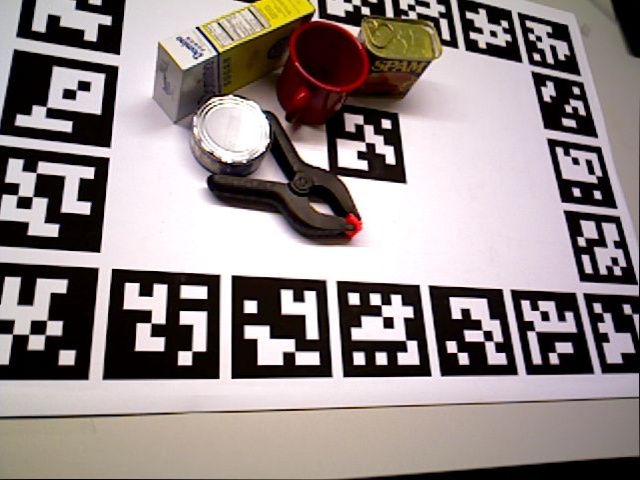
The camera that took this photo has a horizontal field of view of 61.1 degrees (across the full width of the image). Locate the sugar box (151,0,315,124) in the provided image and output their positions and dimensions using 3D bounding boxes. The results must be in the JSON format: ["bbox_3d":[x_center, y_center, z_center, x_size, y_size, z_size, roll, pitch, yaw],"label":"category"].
[{"bbox_3d":[-0.092,-0.196,0.577,0.173,0.095,0.045,-36,84,-29],"label":"sugar box"}]

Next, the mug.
[{"bbox_3d":[-0.004,-0.175,0.599,0.093,0.083,0.115,28,65,-10],"label":"mug"}]

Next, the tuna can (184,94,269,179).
[{"bbox_3d":[-0.098,-0.106,0.568,0.085,0.034,0.085,6,71,-18],"label":"tuna can"}]

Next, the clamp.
[{"bbox_3d":[-0.025,-0.046,0.580,0.165,0.037,0.119,39,58,-8],"label":"clamp"}]

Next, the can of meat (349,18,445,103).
[{"bbox_3d":[0.084,-0.212,0.654,0.100,0.085,0.057,-4,70,-23],"label":"can of meat"}]
